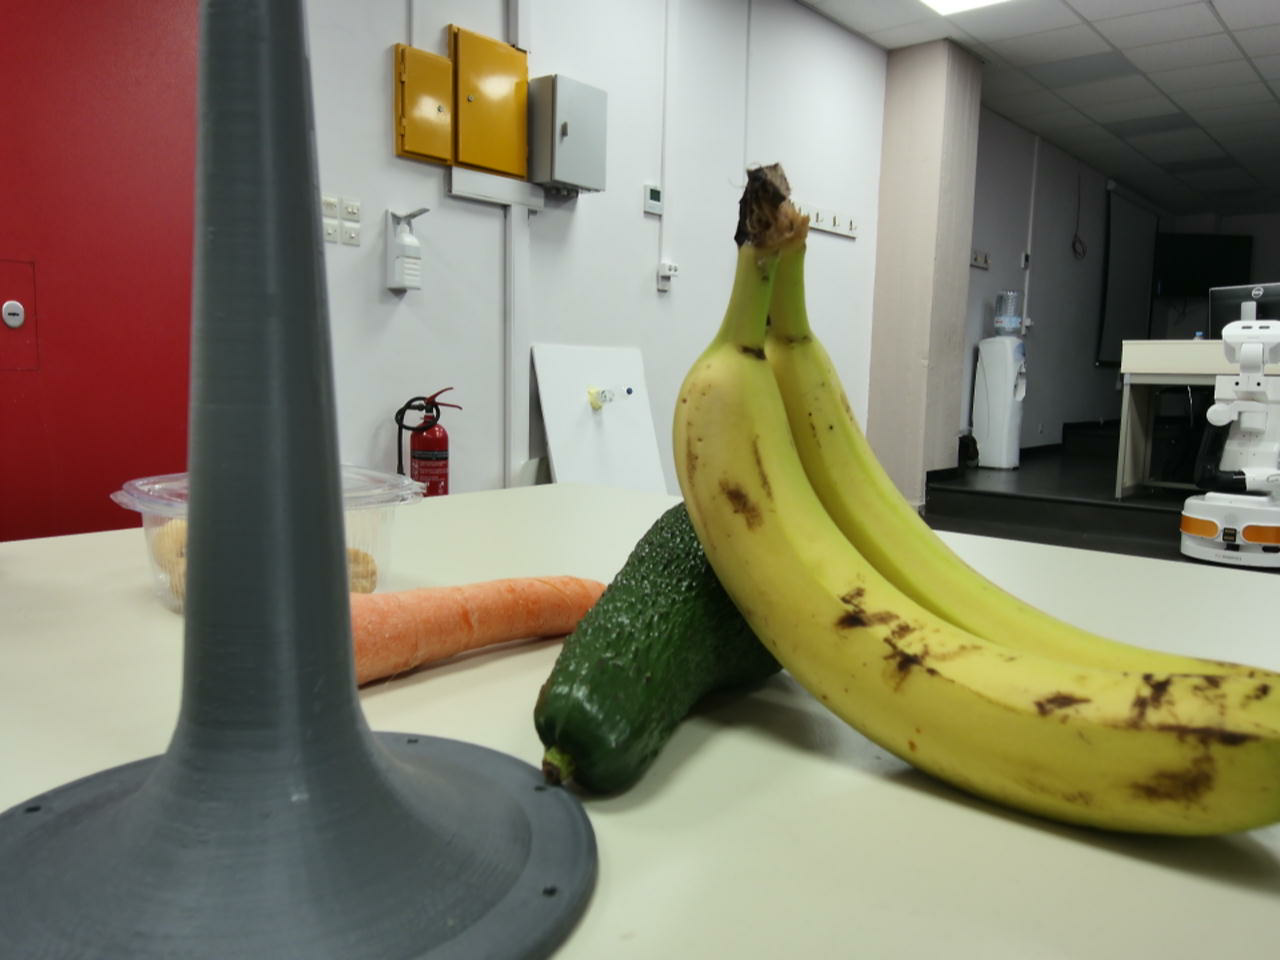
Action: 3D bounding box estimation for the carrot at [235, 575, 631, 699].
[{"bbox_3d":[-0.074,0.056,0.423,0.039,0.041,0.196,4,7,41],"label":"carrot"}]
